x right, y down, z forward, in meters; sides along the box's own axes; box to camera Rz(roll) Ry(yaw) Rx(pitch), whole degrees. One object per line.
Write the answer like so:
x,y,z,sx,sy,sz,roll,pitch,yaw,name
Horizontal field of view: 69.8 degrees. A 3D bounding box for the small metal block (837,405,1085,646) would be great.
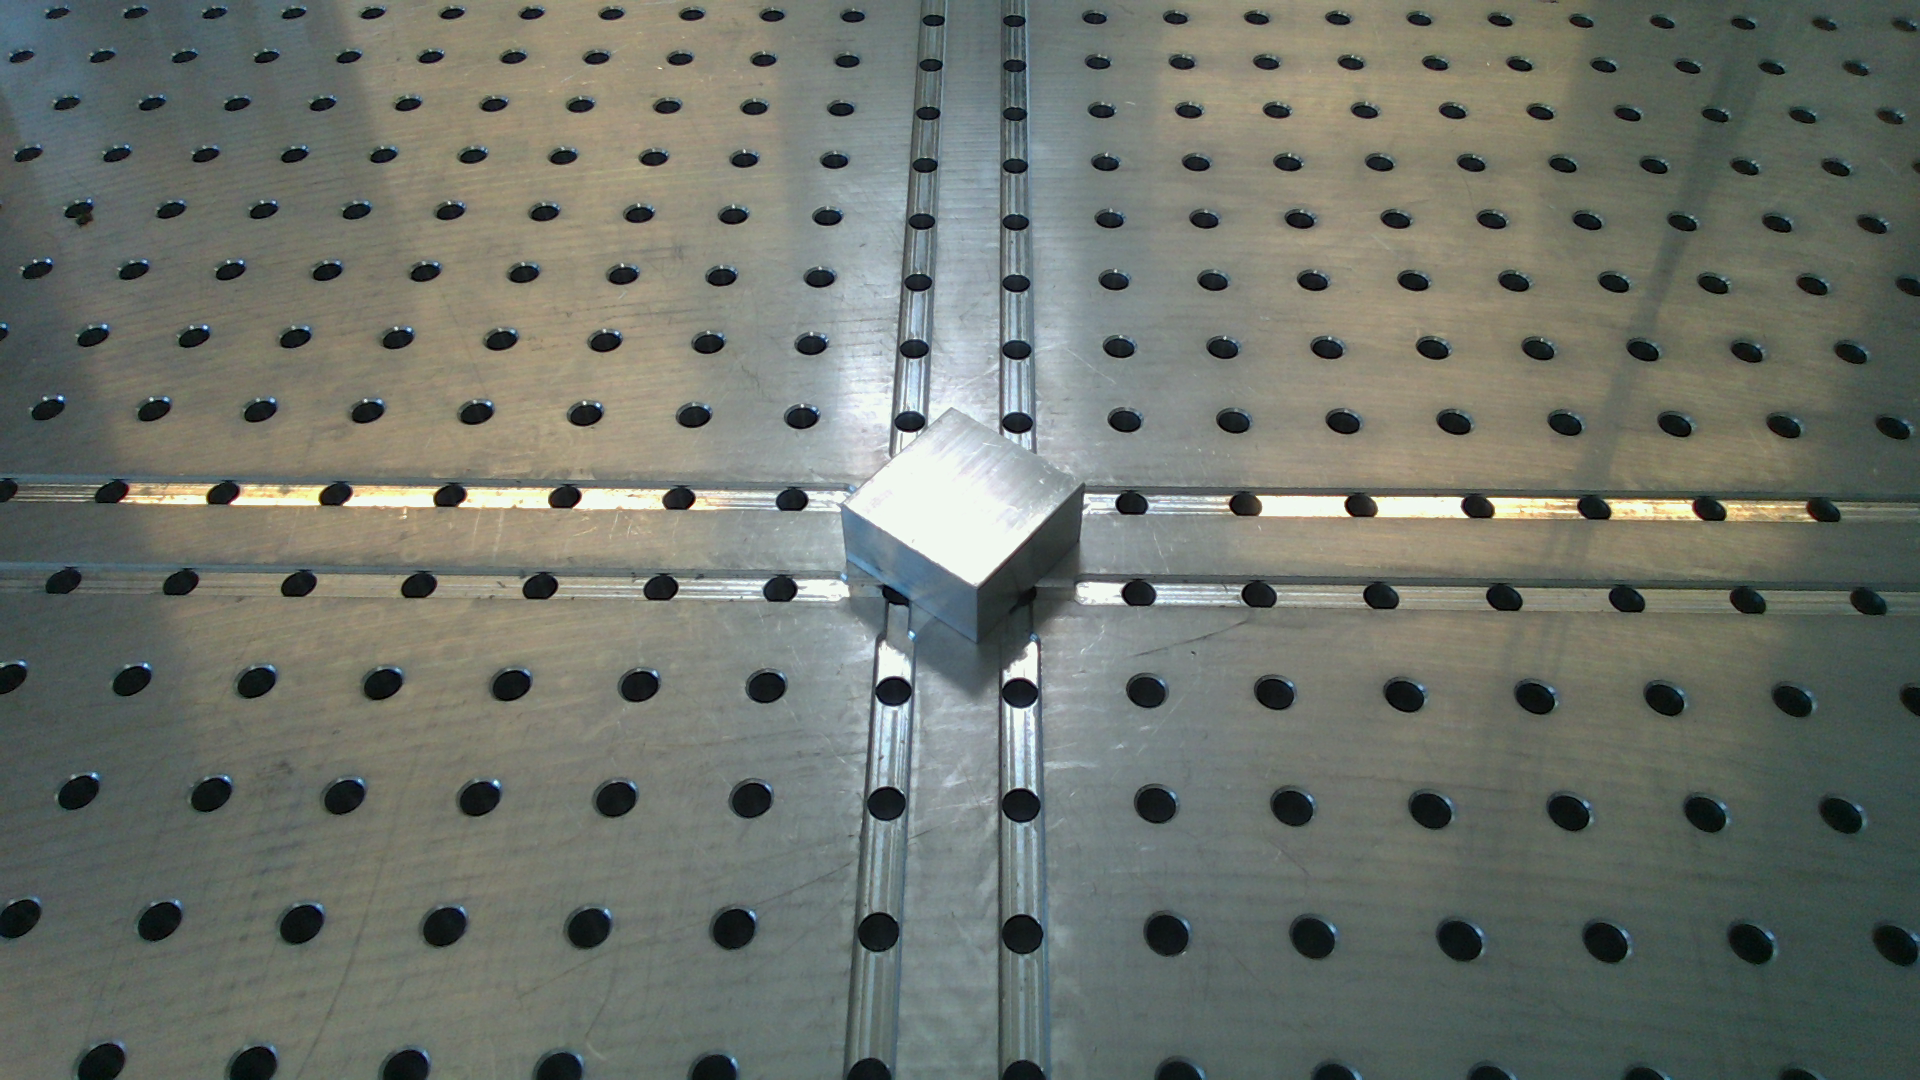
0.000,-0.005,0.399,0.050,0.025,0.050,32,57,23,small metal block
